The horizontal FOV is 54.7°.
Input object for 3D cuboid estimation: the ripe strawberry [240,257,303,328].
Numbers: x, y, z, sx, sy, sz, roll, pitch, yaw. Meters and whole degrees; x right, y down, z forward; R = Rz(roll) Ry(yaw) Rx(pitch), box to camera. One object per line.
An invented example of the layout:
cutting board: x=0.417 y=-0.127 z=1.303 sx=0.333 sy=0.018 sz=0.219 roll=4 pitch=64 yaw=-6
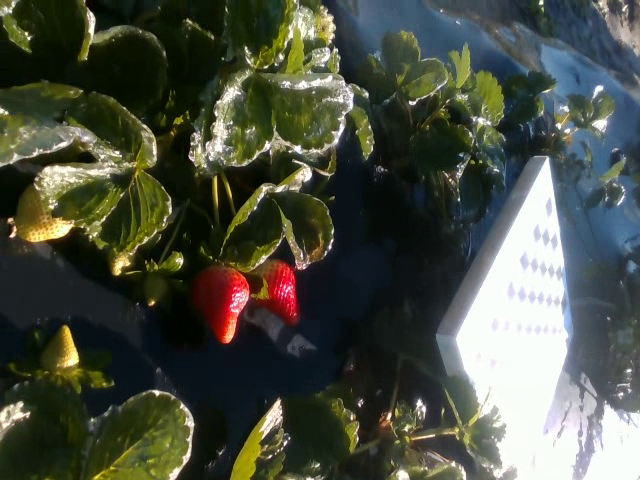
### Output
ripe strawberry: x=-0.030 y=0.042 z=0.507 sx=0.040 sy=0.059 sz=0.043 roll=1 pitch=38 yaw=41

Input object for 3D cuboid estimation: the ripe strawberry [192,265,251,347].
ripe strawberry: x=-0.071 y=0.052 z=0.472 sx=0.040 sy=0.069 sz=0.053 roll=-2 pitch=-10 yaw=30
